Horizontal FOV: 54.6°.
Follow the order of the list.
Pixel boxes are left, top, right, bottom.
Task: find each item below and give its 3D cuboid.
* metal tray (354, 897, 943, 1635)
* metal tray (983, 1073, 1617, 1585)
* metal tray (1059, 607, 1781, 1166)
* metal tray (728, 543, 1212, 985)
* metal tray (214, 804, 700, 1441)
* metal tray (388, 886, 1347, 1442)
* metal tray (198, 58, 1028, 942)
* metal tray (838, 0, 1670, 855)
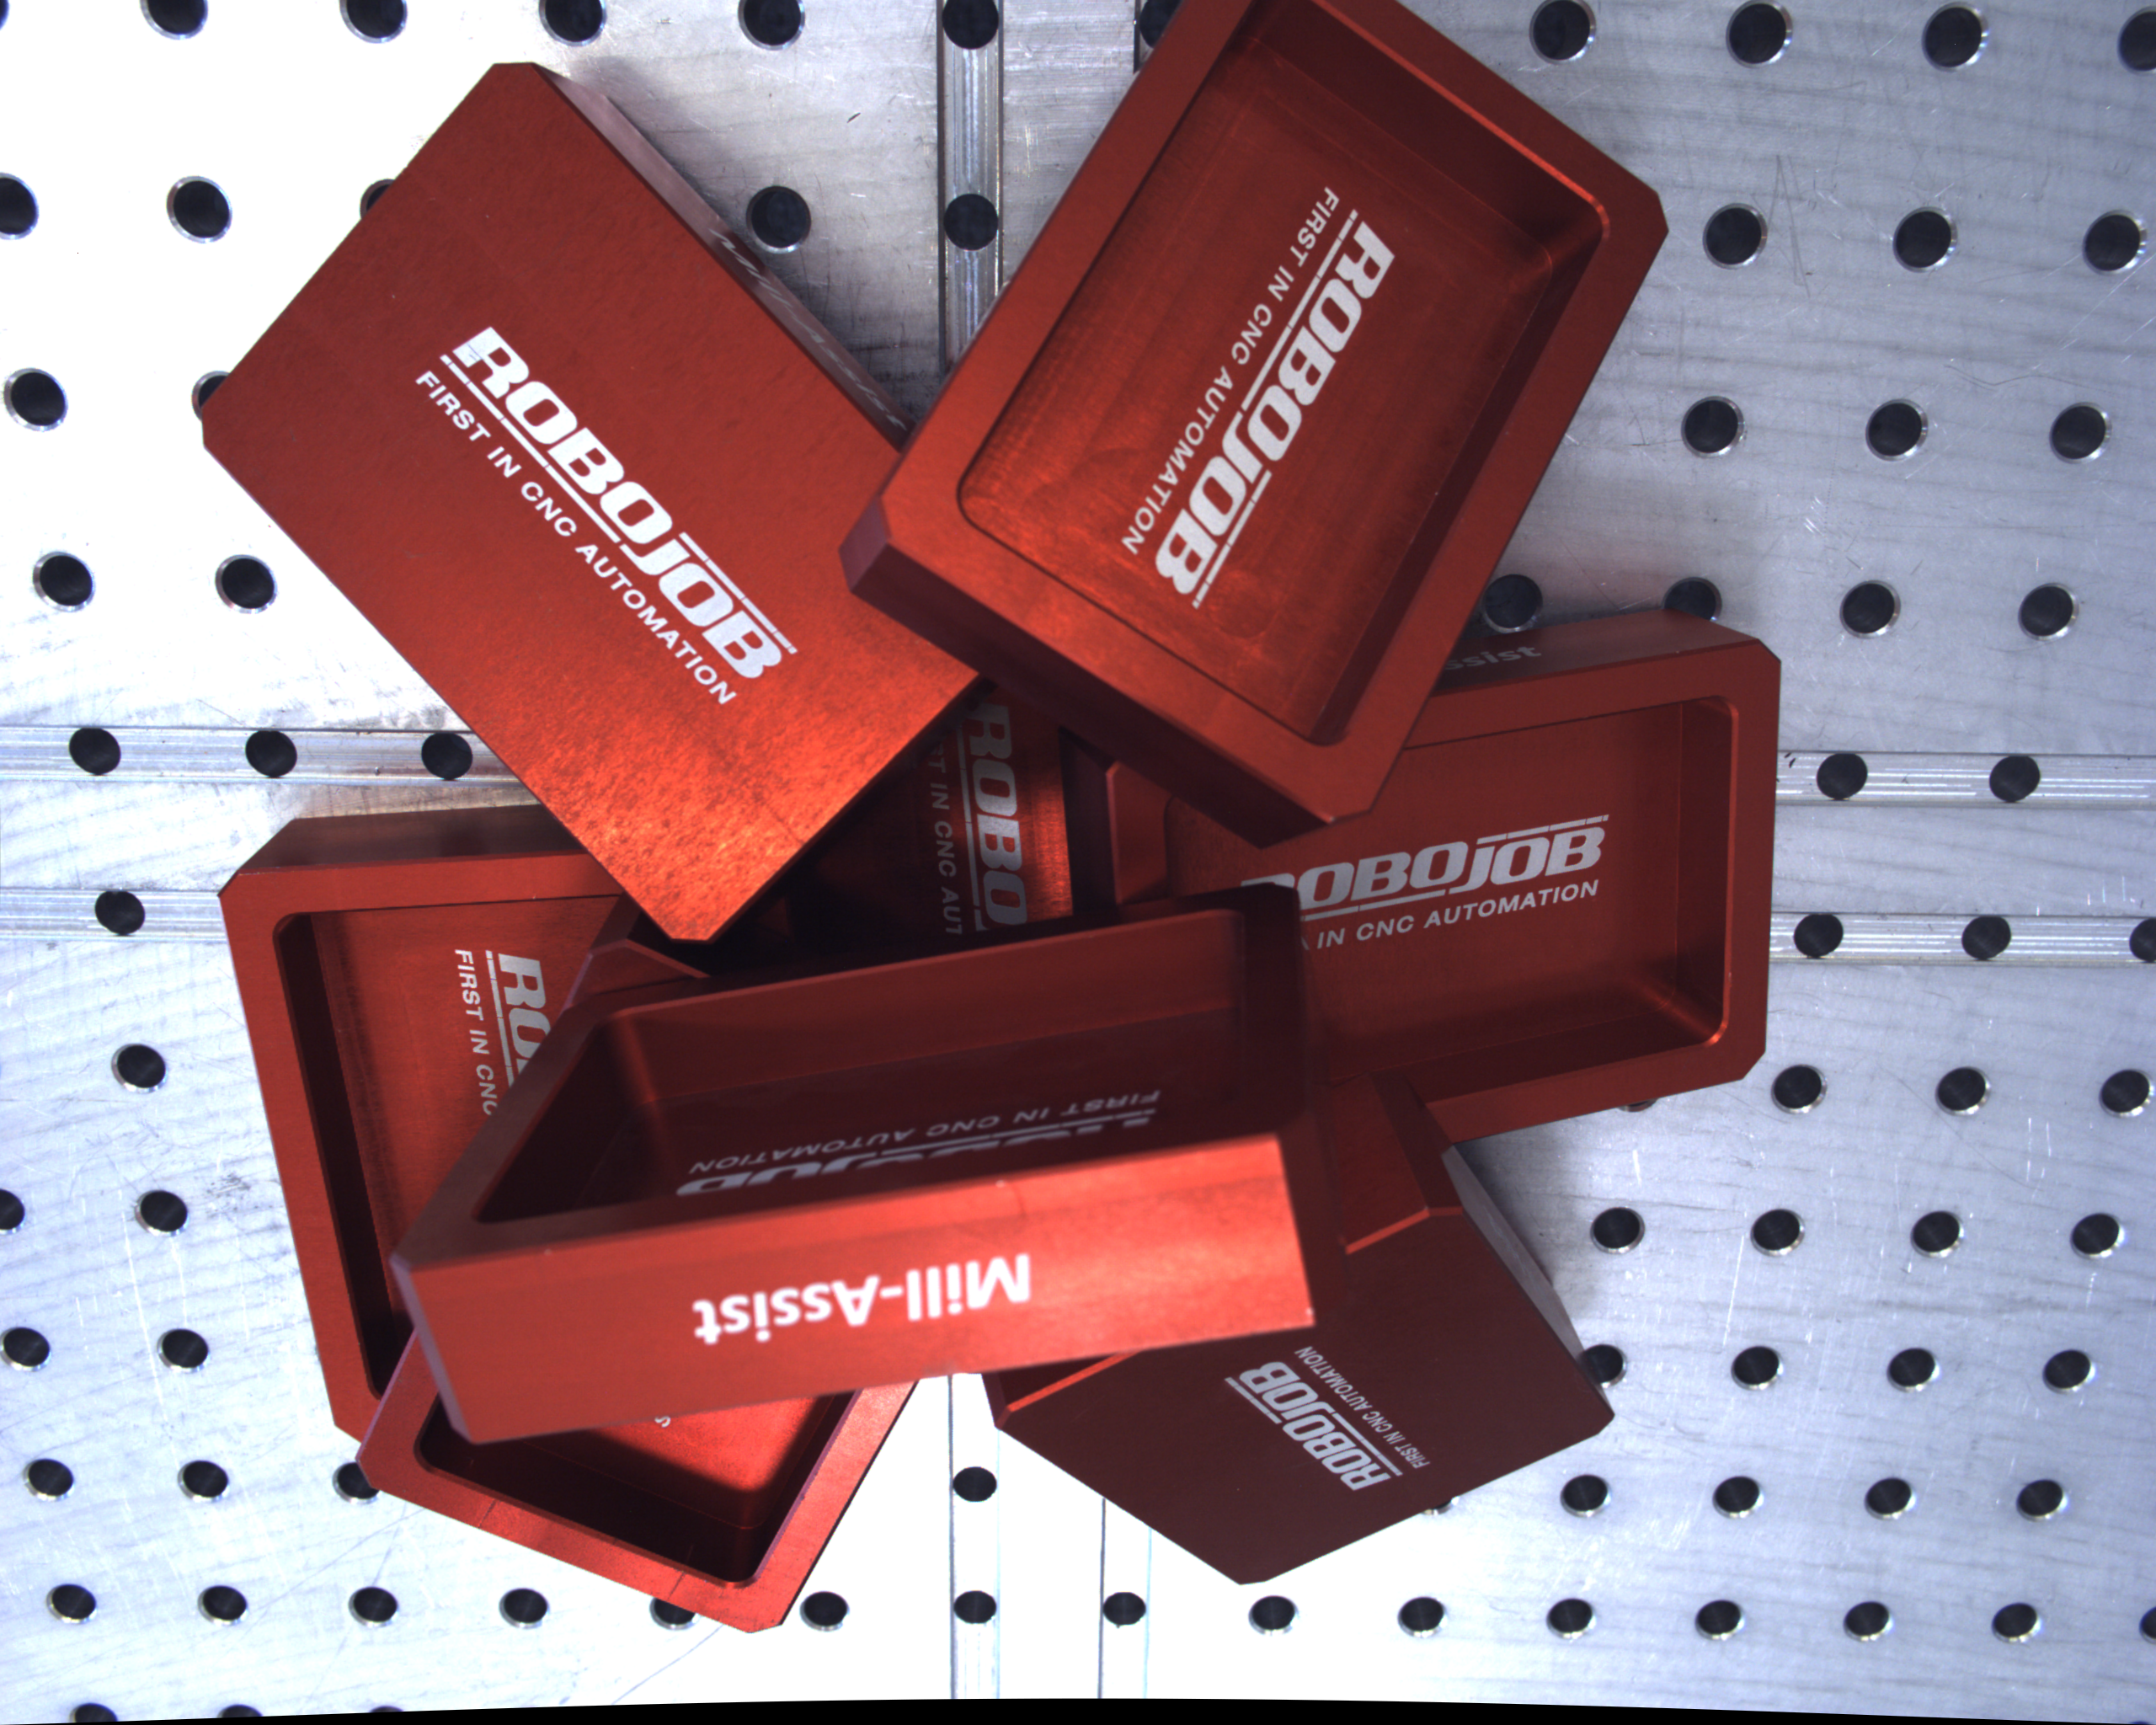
[{"bbox_3d":[-0.073,0.080,0.407,0.090,0.030,0.129,25,108,-9],"label":"metal tray"},{"bbox_3d":[0.046,0.097,0.411,0.090,0.030,0.130,-27,141,10],"label":"metal tray"},{"bbox_3d":[0.066,0.007,0.394,0.131,0.030,0.089,-10,111,-15],"label":"metal tray"},{"bbox_3d":[-0.019,0.005,0.412,0.090,0.030,0.129,-5,108,0],"label":"metal tray"},{"bbox_3d":[-0.115,0.054,0.430,0.090,0.030,0.129,-4,109,1],"label":"metal tray"},{"bbox_3d":[-0.027,0.043,0.325,0.130,0.090,0.030,-10,110,8],"label":"metal tray"},{"bbox_3d":[-0.079,-0.062,0.369,0.090,0.030,0.130,-43,89,14],"label":"metal tray"},{"bbox_3d":[0.032,-0.078,0.346,0.090,0.030,0.130,32,74,-11],"label":"metal tray"}]
